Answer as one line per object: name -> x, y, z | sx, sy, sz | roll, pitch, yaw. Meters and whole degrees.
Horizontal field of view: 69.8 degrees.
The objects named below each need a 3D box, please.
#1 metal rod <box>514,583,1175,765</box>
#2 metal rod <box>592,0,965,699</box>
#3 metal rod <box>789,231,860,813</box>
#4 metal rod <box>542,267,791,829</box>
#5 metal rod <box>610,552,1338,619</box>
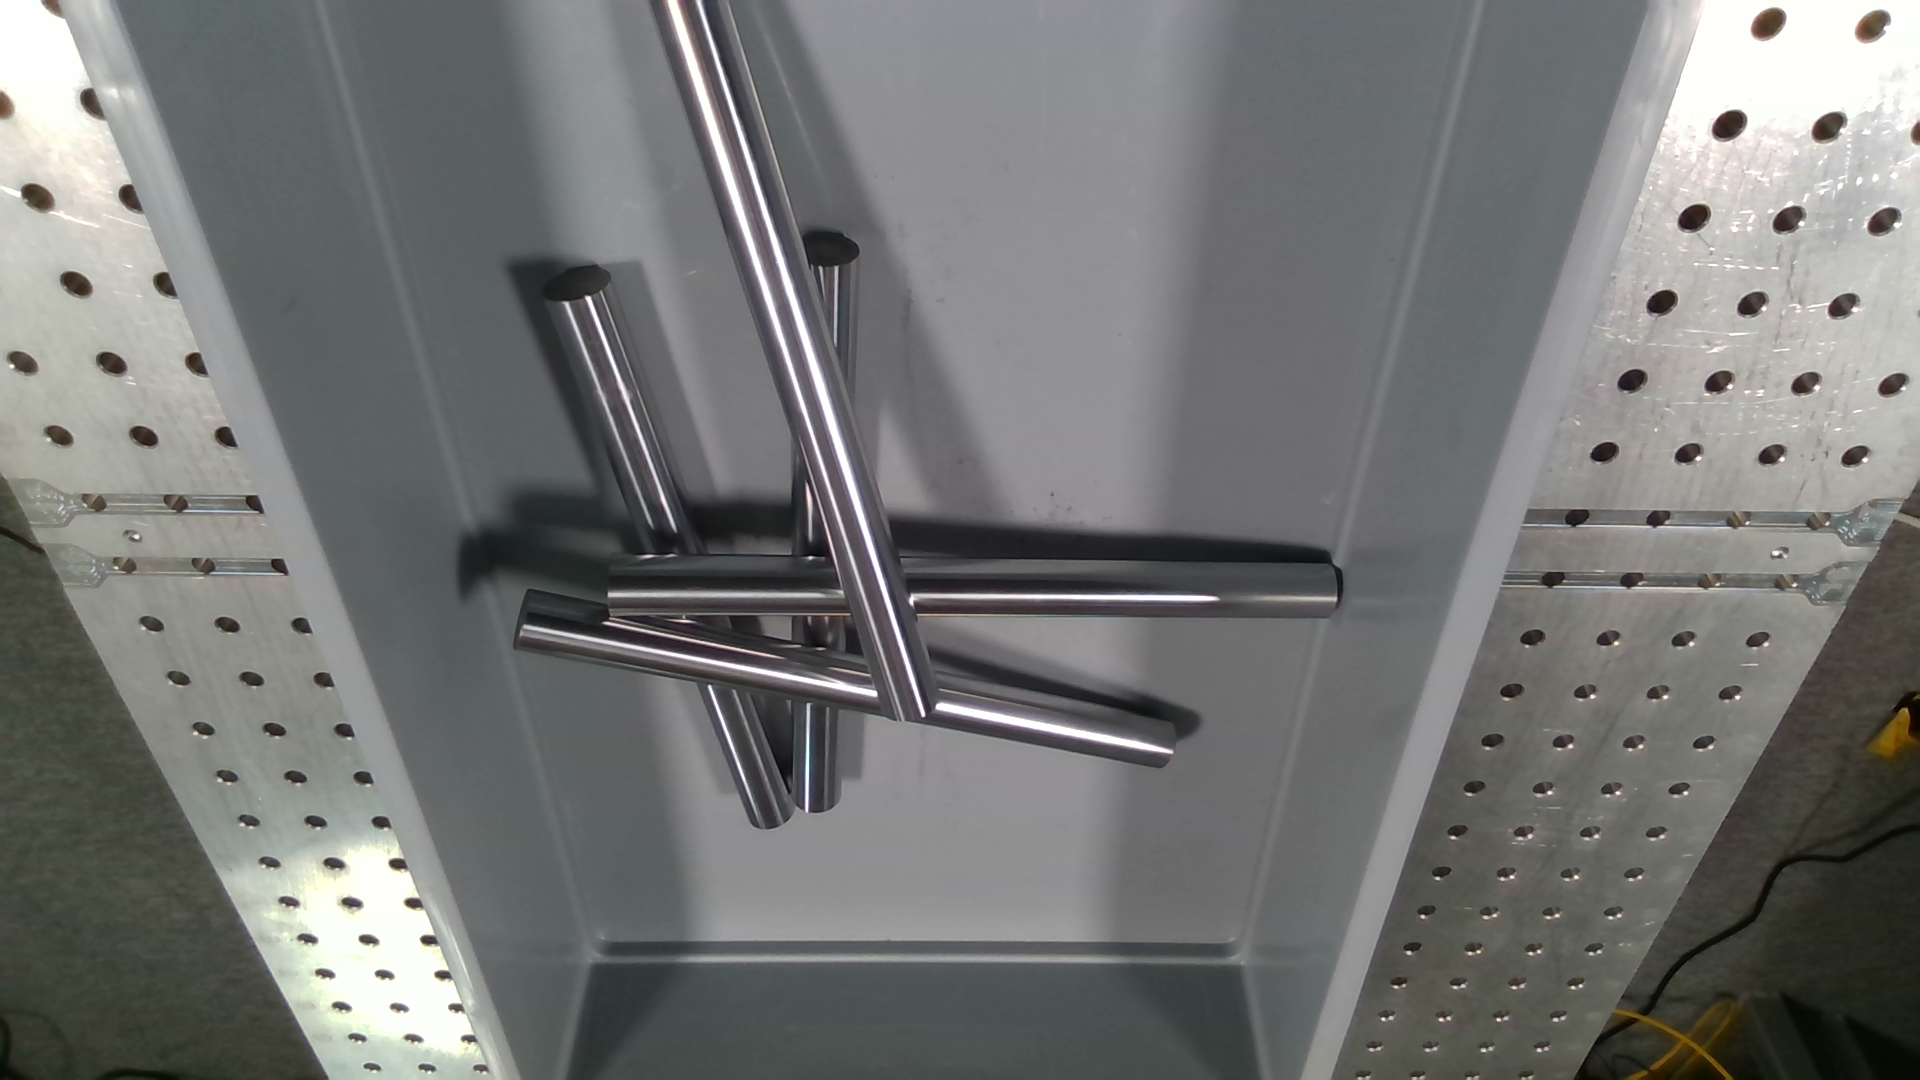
metal rod -> -0.040, 0.063, 0.605 | 0.300, 0.025, 0.025 | 14, 129, -21
metal rod -> -0.057, -0.060, 0.494 | 0.025, 0.025, 0.301 | -14, 123, 12
metal rod -> -0.060, 0.011, 0.587 | 0.025, 0.025, 0.301 | 3, 130, -3
metal rod -> -0.117, 0.021, 0.595 | 0.025, 0.025, 0.301 | -7, 130, 5
metal rod -> 0.010, 0.019, 0.572 | 0.300, 0.025, 0.025 | 1, 130, -9
